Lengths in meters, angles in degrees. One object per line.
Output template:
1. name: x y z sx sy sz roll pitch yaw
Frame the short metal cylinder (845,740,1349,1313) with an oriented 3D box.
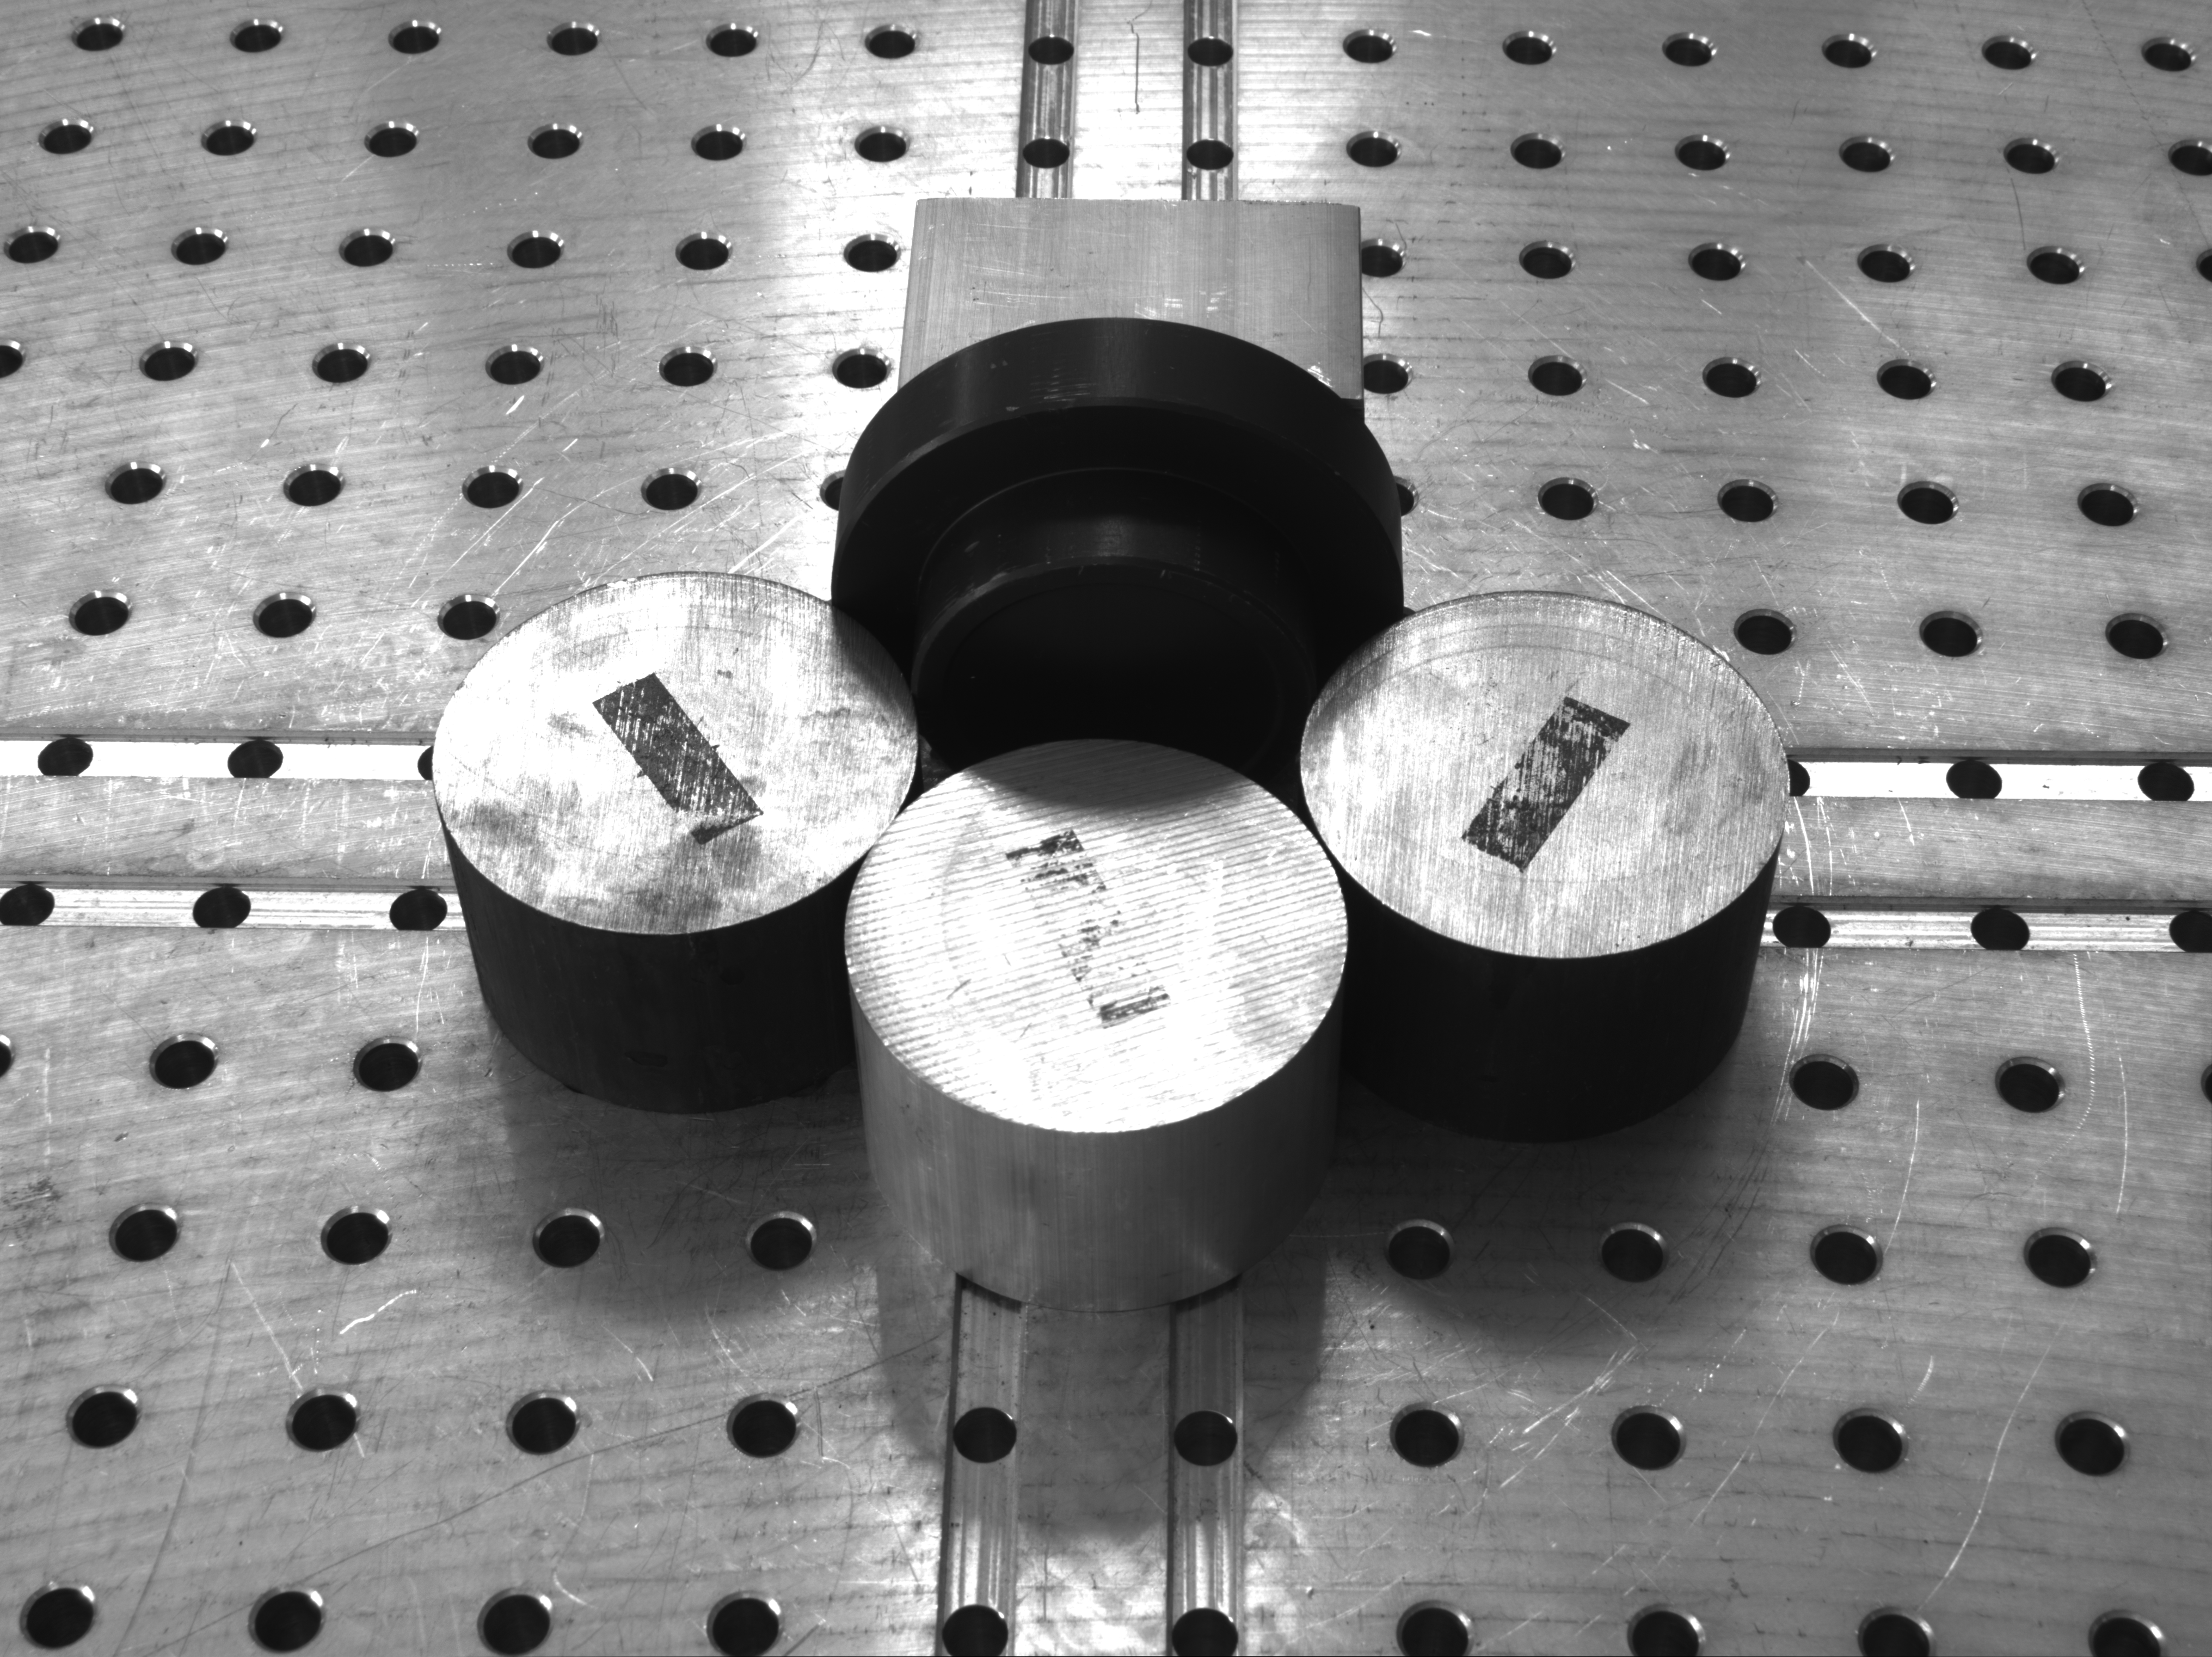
1. short metal cylinder: -0.001 0.032 0.603 0.080 0.050 0.080 0 50 0

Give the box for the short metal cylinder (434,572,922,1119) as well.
1. short metal cylinder: -0.071 0.002 0.628 0.080 0.050 0.080 0 50 0

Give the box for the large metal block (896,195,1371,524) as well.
1. large metal block: 0.005 -0.067 0.666 0.080 0.080 0.050 1 50 1

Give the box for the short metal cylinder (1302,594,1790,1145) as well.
1. short metal cylinder: 0.073 0.006 0.624 0.080 0.050 0.080 0 50 0

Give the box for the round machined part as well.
1. round machined part: 0.002 -0.038 0.627 0.098 0.098 0.042 1 49 1
